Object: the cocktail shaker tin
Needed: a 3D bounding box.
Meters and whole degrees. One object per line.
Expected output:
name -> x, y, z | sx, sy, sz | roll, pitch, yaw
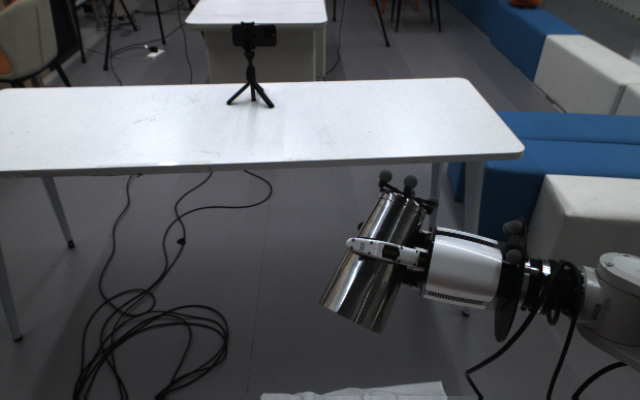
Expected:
cocktail shaker tin -> 0.078, 0.076, 0.640 | 0.093, 0.093, 0.170 | 21, 81, 25
